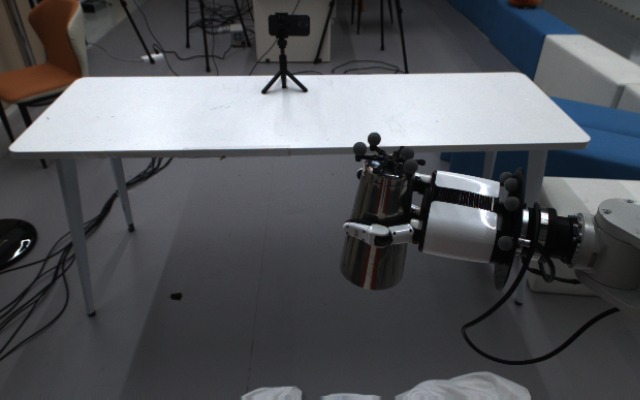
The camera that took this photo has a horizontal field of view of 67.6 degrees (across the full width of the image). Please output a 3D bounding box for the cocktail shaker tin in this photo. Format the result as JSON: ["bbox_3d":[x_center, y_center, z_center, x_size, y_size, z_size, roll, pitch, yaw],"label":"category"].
[{"bbox_3d":[0.082,0.027,0.658,0.093,0.170,0.093,4,32,-2],"label":"cocktail shaker tin"}]
